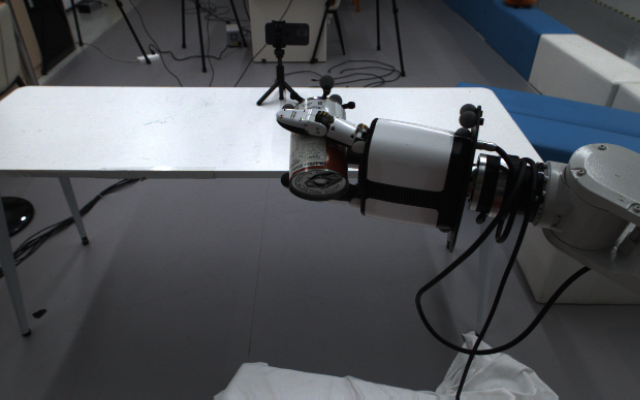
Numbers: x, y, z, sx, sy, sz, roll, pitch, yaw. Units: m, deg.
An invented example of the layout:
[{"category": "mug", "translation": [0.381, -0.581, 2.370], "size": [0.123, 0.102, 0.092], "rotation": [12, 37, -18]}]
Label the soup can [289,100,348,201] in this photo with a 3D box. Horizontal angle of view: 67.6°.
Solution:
[{"category": "soup can", "translation": [-0.001, -0.061, 0.559], "size": [0.067, 0.067, 0.101], "rotation": [1, 61, -2]}]
